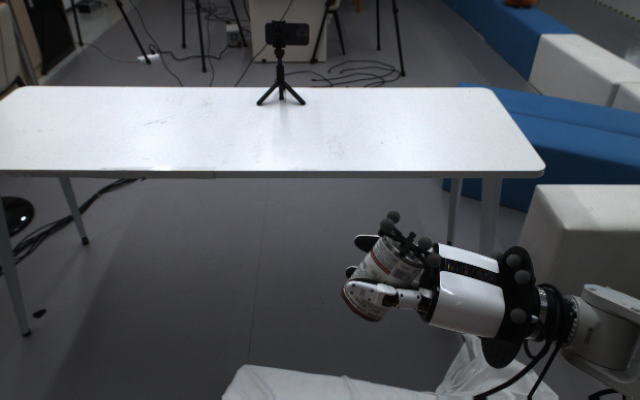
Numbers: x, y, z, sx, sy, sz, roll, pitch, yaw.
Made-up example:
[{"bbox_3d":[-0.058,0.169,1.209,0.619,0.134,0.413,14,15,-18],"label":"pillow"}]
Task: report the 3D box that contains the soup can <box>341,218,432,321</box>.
[{"bbox_3d":[0.084,0.098,0.629,0.067,0.101,0.067,28,22,-12],"label":"soup can"}]
